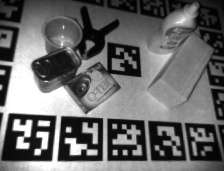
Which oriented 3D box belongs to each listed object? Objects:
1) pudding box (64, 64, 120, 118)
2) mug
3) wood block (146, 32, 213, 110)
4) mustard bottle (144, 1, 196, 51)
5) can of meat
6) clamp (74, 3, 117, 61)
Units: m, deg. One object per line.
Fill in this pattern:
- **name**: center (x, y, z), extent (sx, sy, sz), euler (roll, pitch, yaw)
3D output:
- **pudding box**: center (-0.050, 0.012, 0.546), extent (0.114, 0.038, 0.090), euler (-39, 86, -27)
- **mug**: center (-0.138, -0.113, 0.565), extent (0.093, 0.081, 0.117), euler (24, 67, -7)
- **wood block**: center (0.195, -0.045, 0.620), extent (0.090, 0.090, 0.207), euler (37, 62, 1)
- **mustard bottle**: center (0.166, -0.163, 0.593), extent (0.097, 0.191, 0.058), euler (-2, 71, -16)
- **can of meat**: center (-0.138, -0.022, 0.500), extent (0.102, 0.083, 0.057), euler (-28, 81, -24)
- **clamp**: center (-0.062, -0.145, 0.606), extent (0.122, 0.036, 0.165), euler (22, 68, -10)
